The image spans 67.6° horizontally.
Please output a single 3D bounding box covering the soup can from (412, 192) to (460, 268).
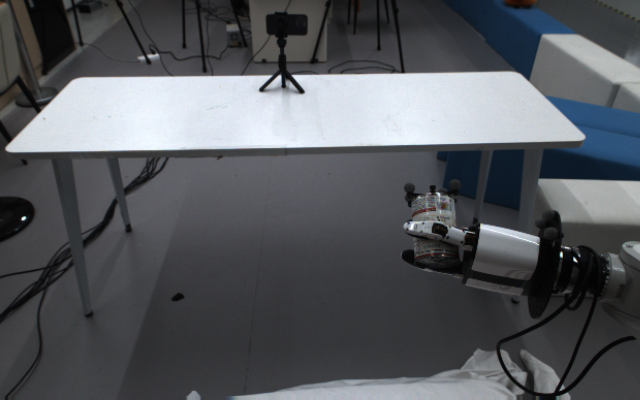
[{"bbox_3d":[0.177,0.047,0.742,0.067,0.067,0.101,1,69,-1],"label":"soup can"}]
